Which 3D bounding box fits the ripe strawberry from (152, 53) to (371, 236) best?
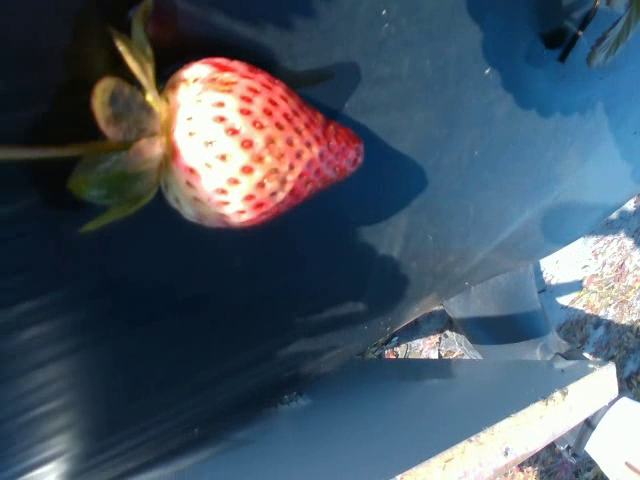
[{"bbox_3d":[-0.009,-0.019,0.136,0.063,0.044,0.044,-8,-3,-31],"label":"ripe strawberry"}]
